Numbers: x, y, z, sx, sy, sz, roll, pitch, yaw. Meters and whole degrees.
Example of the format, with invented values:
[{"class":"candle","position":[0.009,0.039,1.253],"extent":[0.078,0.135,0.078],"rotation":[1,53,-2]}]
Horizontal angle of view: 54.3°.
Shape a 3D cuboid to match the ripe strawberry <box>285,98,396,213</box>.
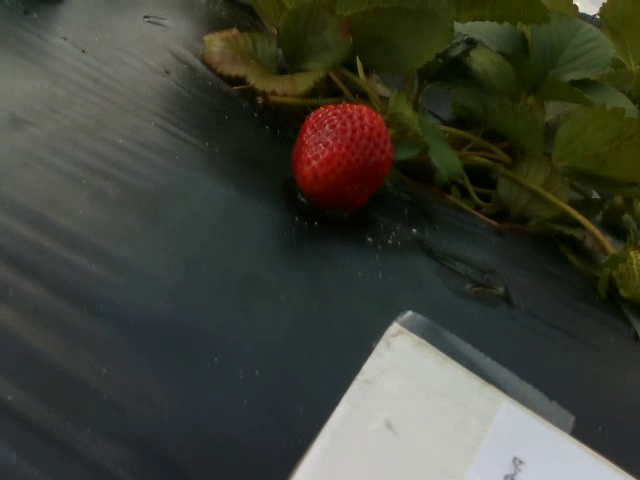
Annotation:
[{"class":"ripe strawberry","position":[0.007,-0.026,0.192],"extent":[0.036,0.040,0.046],"rotation":[12,15,20]}]
